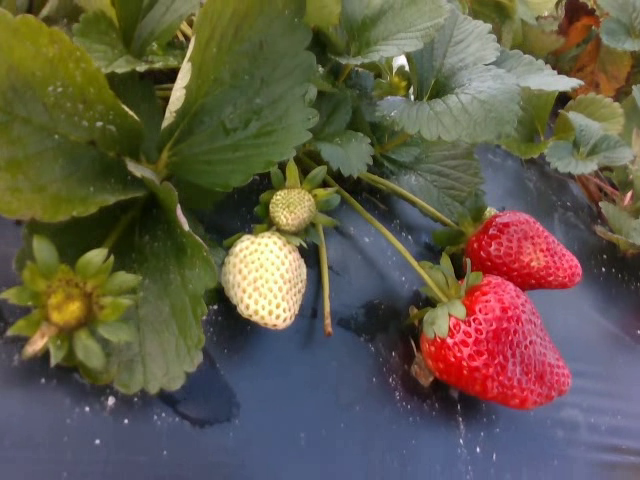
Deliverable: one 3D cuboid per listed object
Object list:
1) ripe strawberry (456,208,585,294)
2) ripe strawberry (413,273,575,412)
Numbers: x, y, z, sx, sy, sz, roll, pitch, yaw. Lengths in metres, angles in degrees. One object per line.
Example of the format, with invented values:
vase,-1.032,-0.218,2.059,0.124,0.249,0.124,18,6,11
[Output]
ripe strawberry,0.103,0.009,0.297,0.059,0.051,0.051,24,-22,31
ripe strawberry,0.077,0.046,0.248,0.065,0.059,0.044,40,-20,3
